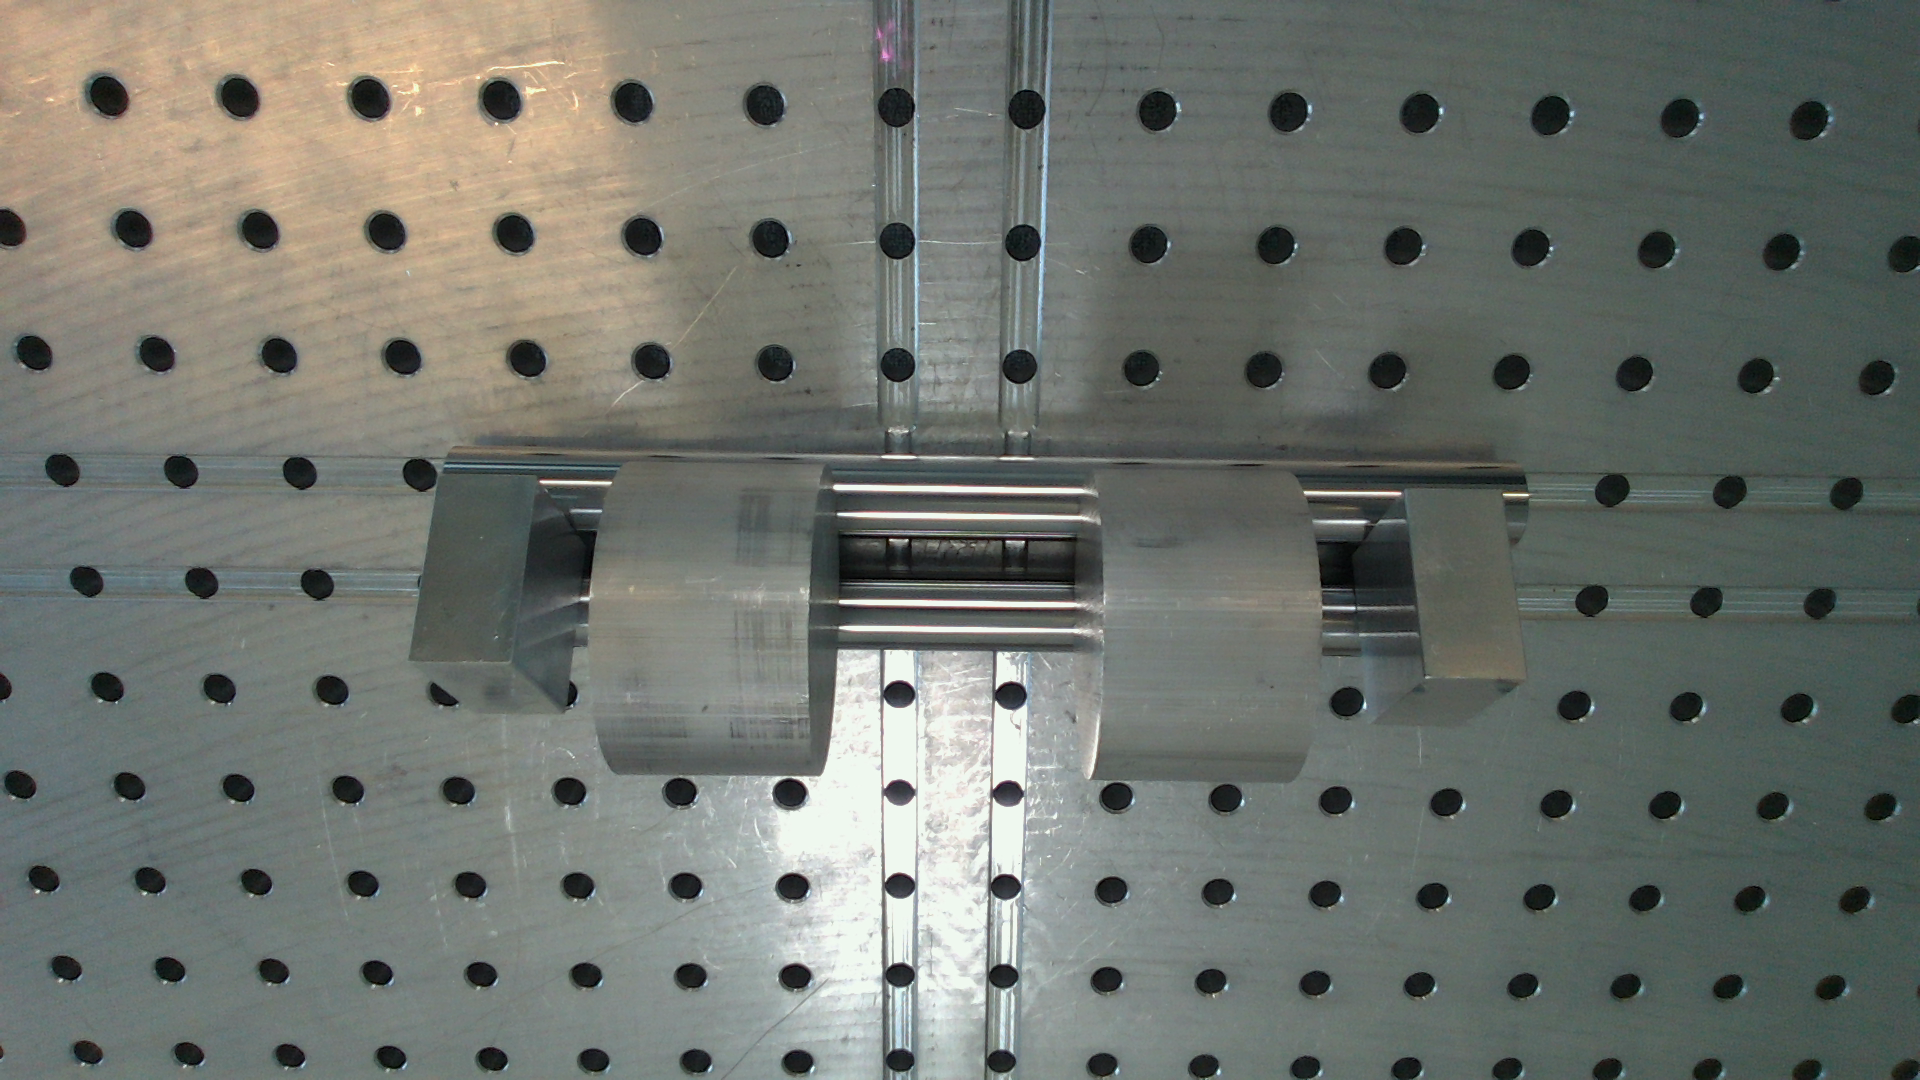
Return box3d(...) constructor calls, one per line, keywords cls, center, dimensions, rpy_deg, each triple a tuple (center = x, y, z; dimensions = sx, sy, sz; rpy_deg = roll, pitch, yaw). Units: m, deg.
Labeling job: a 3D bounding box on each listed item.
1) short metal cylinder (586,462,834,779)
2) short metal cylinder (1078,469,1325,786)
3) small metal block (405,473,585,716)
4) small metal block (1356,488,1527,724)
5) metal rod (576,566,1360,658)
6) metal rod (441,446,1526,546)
box3d(cls="short metal cylinder", center=(-0.060, 0.020, 0.351), dimensions=(0.050, 0.080, 0.080), rpy_deg=(1, 110, 0))
box3d(cls="short metal cylinder", center=(0.058, 0.022, 0.352), dimensions=(0.050, 0.080, 0.080), rpy_deg=(1, 110, 0))
box3d(cls="small metal block", center=(-0.121, 0.016, 0.364), dimensions=(0.025, 0.050, 0.050), rpy_deg=(1, 68, 0))
box3d(cls="small metal block", center=(0.126, 0.019, 0.366), dimensions=(0.025, 0.050, 0.050), rpy_deg=(1, 69, 0))
box3d(cls="metal rod", center=(0.004, 0.021, 0.404), dimensions=(0.300, 0.025, 0.025), rpy_deg=(1, 110, -1))
box3d(cls="metal rod", center=(0.007, -0.012, 0.392), dimensions=(0.300, 0.025, 0.025), rpy_deg=(1, 110, -1))
